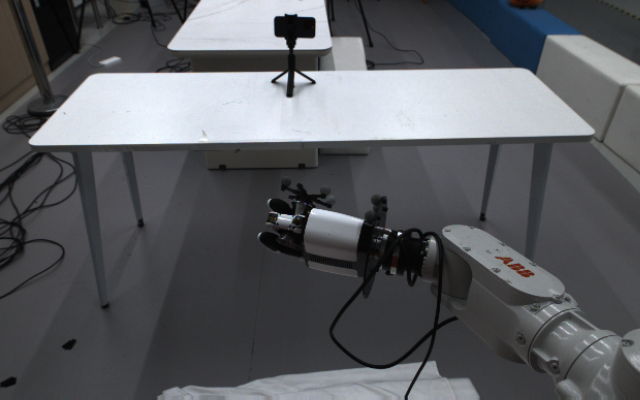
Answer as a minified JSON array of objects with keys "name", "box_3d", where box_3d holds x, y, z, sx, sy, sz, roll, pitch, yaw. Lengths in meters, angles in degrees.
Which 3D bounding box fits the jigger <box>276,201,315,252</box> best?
[{"name":"jigger","box_3d":[-0.036,0.040,0.771,0.043,0.043,0.071,13,70,16]}]
